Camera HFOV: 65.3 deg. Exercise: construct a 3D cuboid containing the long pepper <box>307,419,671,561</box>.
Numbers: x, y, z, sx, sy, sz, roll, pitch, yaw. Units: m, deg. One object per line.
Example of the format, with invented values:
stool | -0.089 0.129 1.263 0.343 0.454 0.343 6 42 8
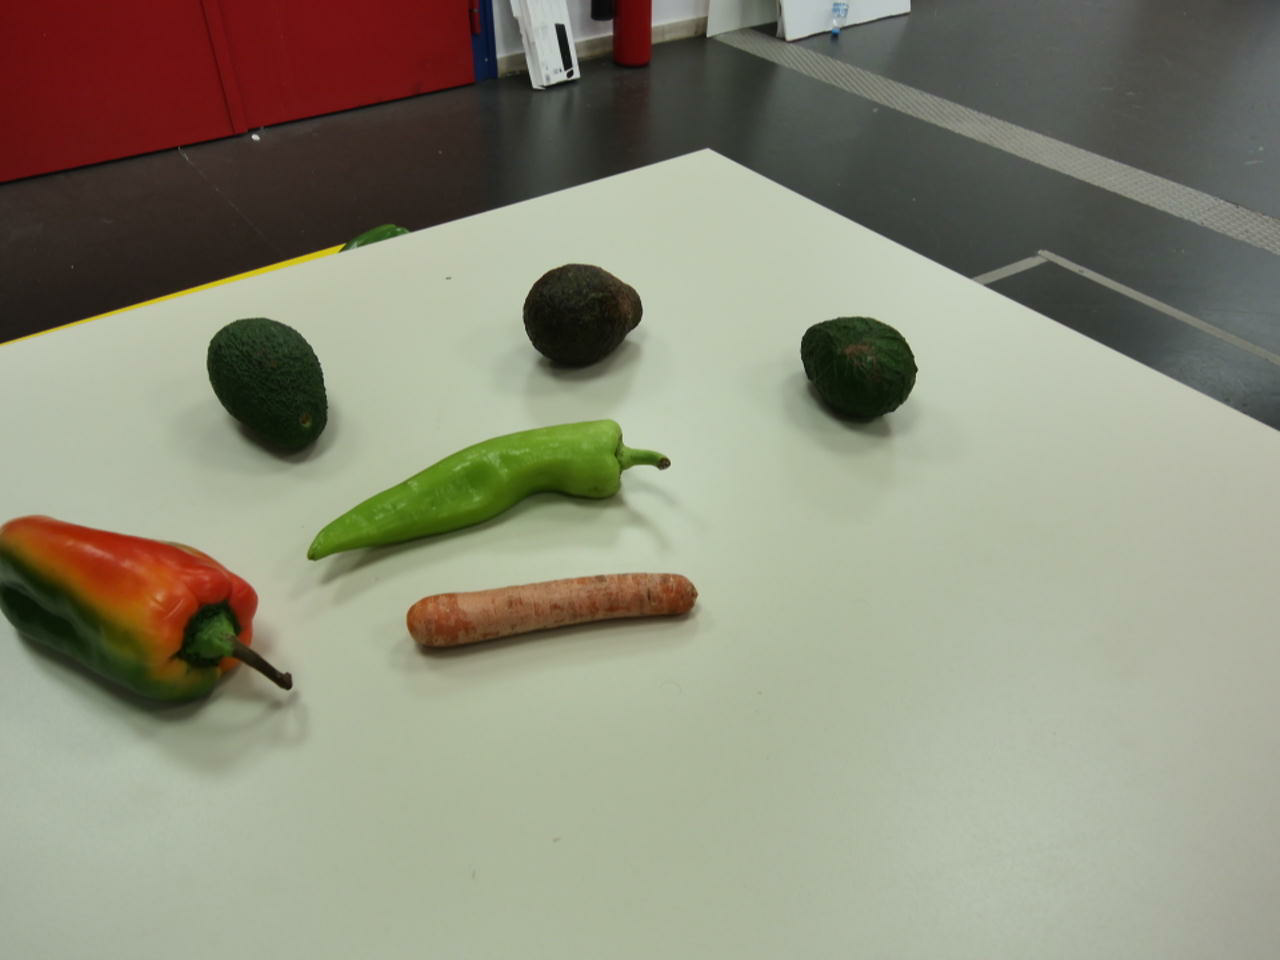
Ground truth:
long pepper | -0.087 0.002 0.571 0.204 0.045 0.065 -13 40 -17
